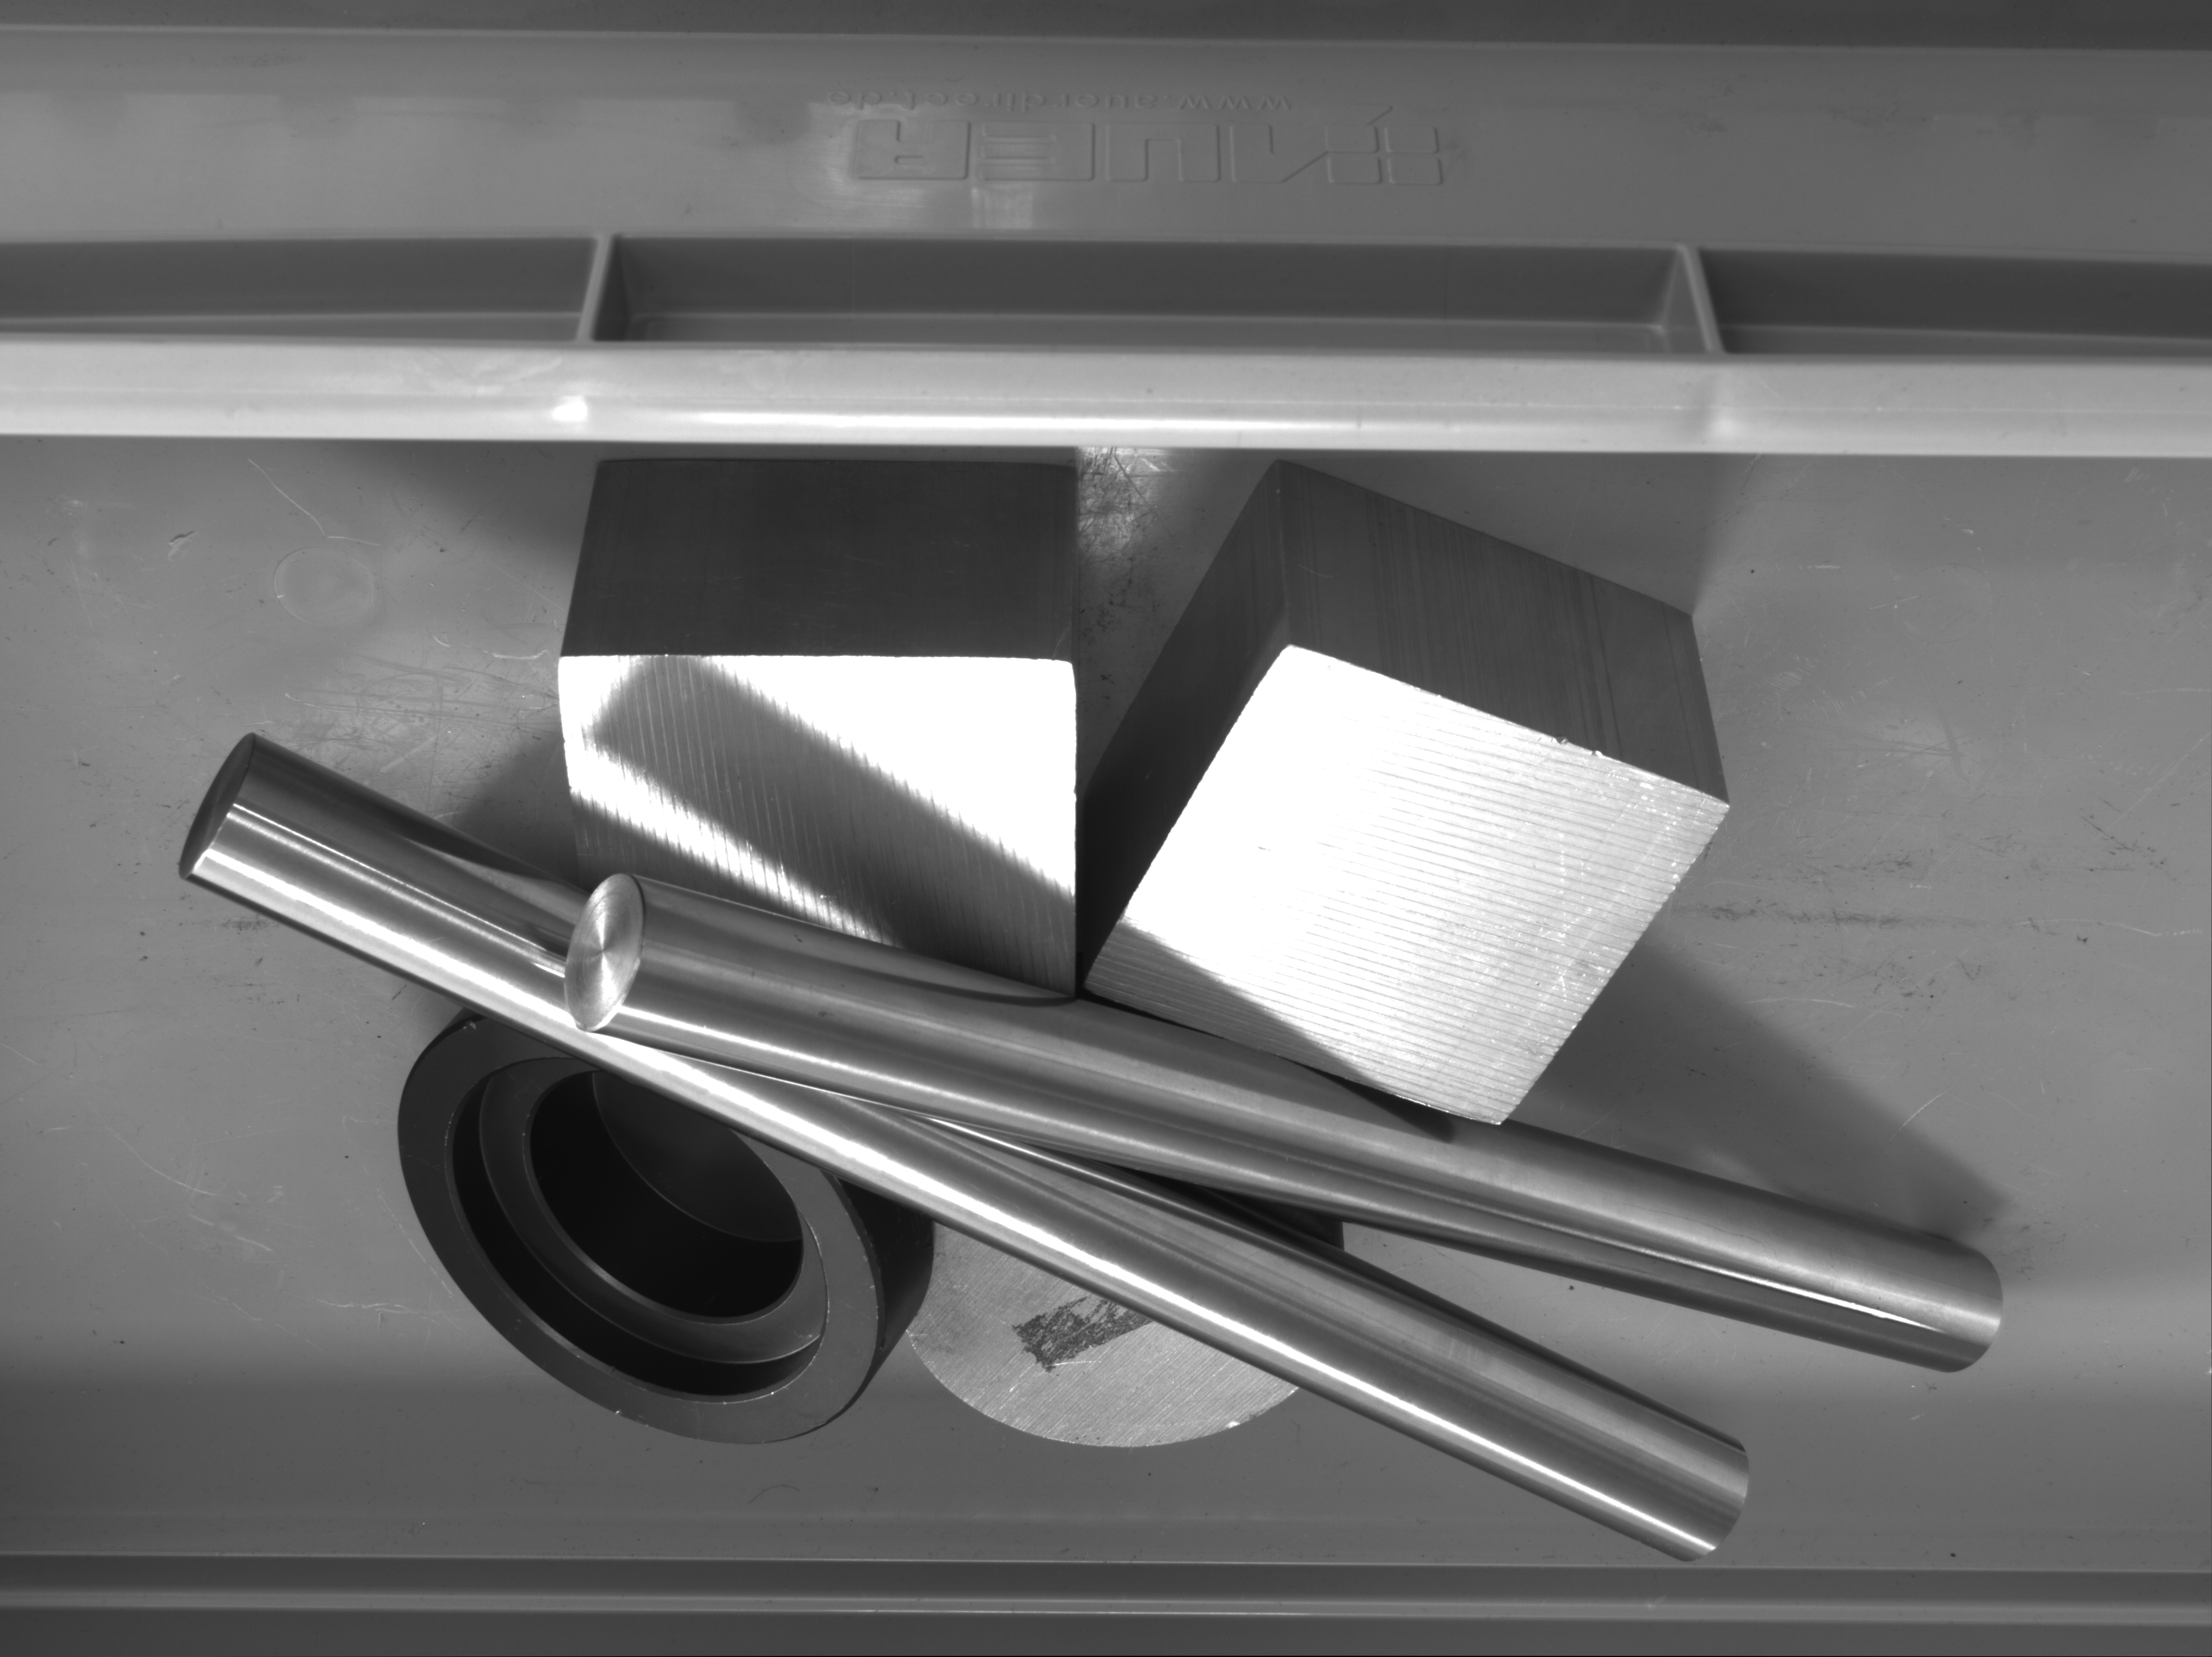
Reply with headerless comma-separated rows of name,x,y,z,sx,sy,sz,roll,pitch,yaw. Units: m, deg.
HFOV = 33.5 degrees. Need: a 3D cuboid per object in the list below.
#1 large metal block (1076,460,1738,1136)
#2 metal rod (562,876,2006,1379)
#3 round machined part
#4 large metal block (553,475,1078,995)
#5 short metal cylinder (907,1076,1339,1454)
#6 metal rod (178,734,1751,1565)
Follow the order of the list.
large metal block,0.048,-0.004,0.617,0.080,0.050,0.080,19,127,-15
metal rod,0.045,0.057,0.637,0.301,0.025,0.025,17,129,-32
round machined part,-0.075,0.060,0.663,0.098,0.042,0.098,14,129,19
large metal block,-0.045,-0.011,0.608,0.080,0.050,0.080,1,130,0
short metal cylinder,0.003,0.070,0.679,0.080,0.050,0.080,0,130,0
metal rod,-0.013,0.060,0.622,0.301,0.025,0.025,27,125,-22
